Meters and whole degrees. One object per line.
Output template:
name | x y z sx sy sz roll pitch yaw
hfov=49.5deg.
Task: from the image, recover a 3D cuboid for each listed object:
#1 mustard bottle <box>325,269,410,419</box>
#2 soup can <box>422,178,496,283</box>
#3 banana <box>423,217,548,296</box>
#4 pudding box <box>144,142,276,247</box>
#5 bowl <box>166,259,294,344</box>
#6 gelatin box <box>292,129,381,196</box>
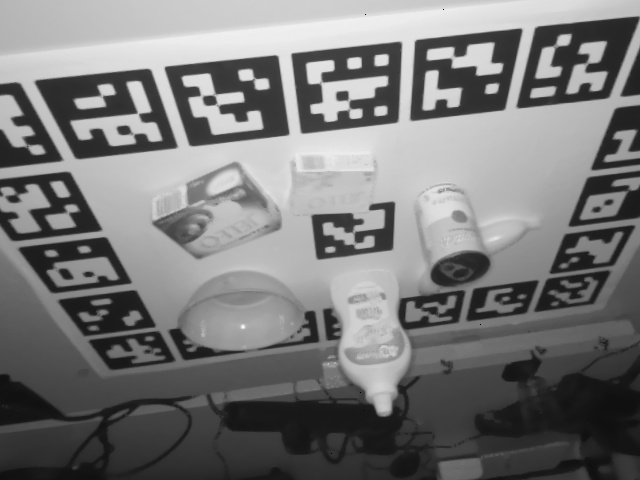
mustard bottle | 0.062 0.130 0.871 0.096 0.192 0.058 -5 144 -2
soup can | 0.156 -0.011 0.786 0.068 0.102 0.067 -4 143 -2
banana | 0.198 0.021 0.902 0.075 0.039 0.194 15 137 -41
pudding box | -0.118 -0.047 0.755 0.113 0.039 0.090 -21 135 16
bowl | -0.116 0.073 0.899 0.162 0.055 0.160 -7 143 -4
gelatin box | 0.016 -0.082 0.744 0.090 0.030 0.072 -2 138 -9
